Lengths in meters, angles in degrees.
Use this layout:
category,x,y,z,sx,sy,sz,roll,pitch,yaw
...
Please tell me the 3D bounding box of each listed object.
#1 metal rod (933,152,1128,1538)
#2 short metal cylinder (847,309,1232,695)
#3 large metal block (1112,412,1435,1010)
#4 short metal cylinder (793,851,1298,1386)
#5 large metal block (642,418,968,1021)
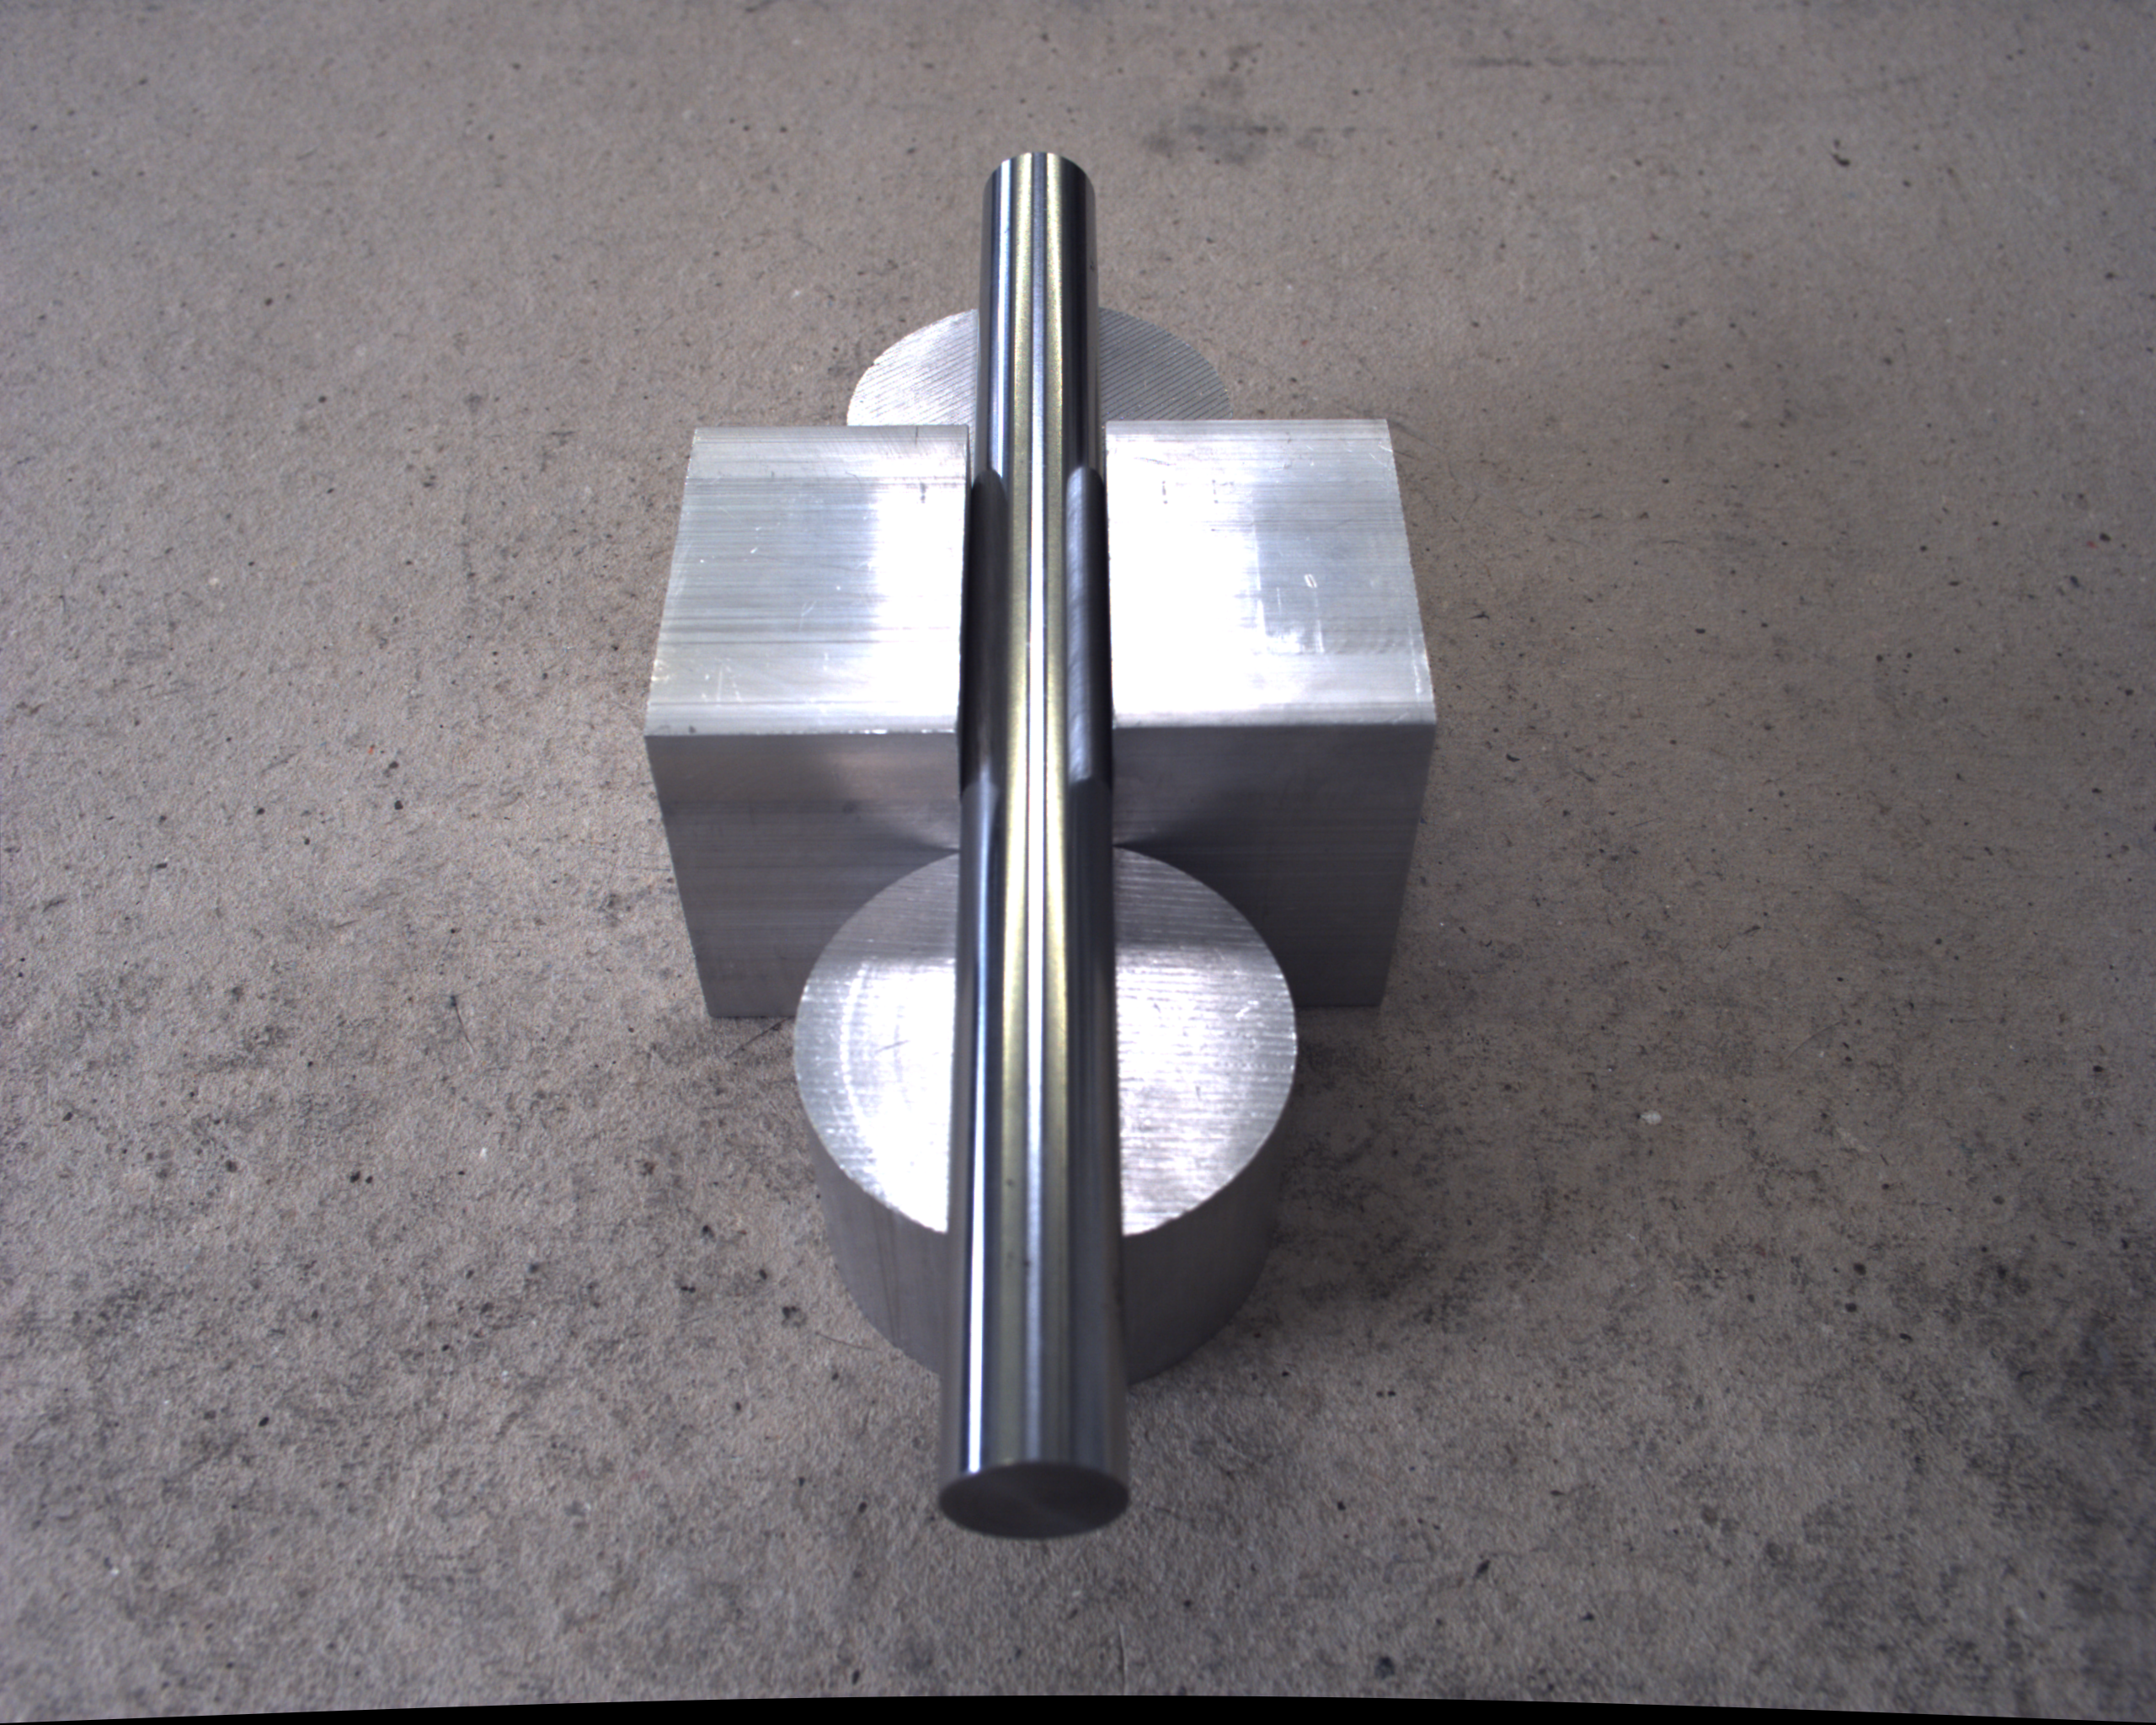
category,x,y,z,sx,sy,sz,roll,pitch,yaw
metal rod,-0.008,-0.032,0.366,0.025,0.025,0.300,0,50,0
short metal cylinder,-0.008,-0.077,0.453,0.081,0.050,0.080,0,49,0
large metal block,0.032,-0.028,0.392,0.050,0.080,0.080,-1,50,-1
short metal cylinder,-0.005,0.043,0.353,0.081,0.050,0.080,0,49,0
large metal block,-0.045,-0.026,0.390,0.050,0.080,0.080,-1,50,-1
